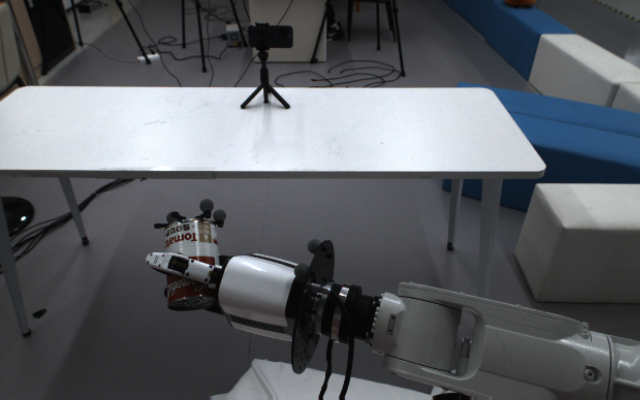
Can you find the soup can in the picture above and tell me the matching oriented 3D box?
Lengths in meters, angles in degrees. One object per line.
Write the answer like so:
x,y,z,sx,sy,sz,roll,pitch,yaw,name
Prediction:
-0.158,0.084,0.614,0.067,0.067,0.101,-6,67,-12,soup can
